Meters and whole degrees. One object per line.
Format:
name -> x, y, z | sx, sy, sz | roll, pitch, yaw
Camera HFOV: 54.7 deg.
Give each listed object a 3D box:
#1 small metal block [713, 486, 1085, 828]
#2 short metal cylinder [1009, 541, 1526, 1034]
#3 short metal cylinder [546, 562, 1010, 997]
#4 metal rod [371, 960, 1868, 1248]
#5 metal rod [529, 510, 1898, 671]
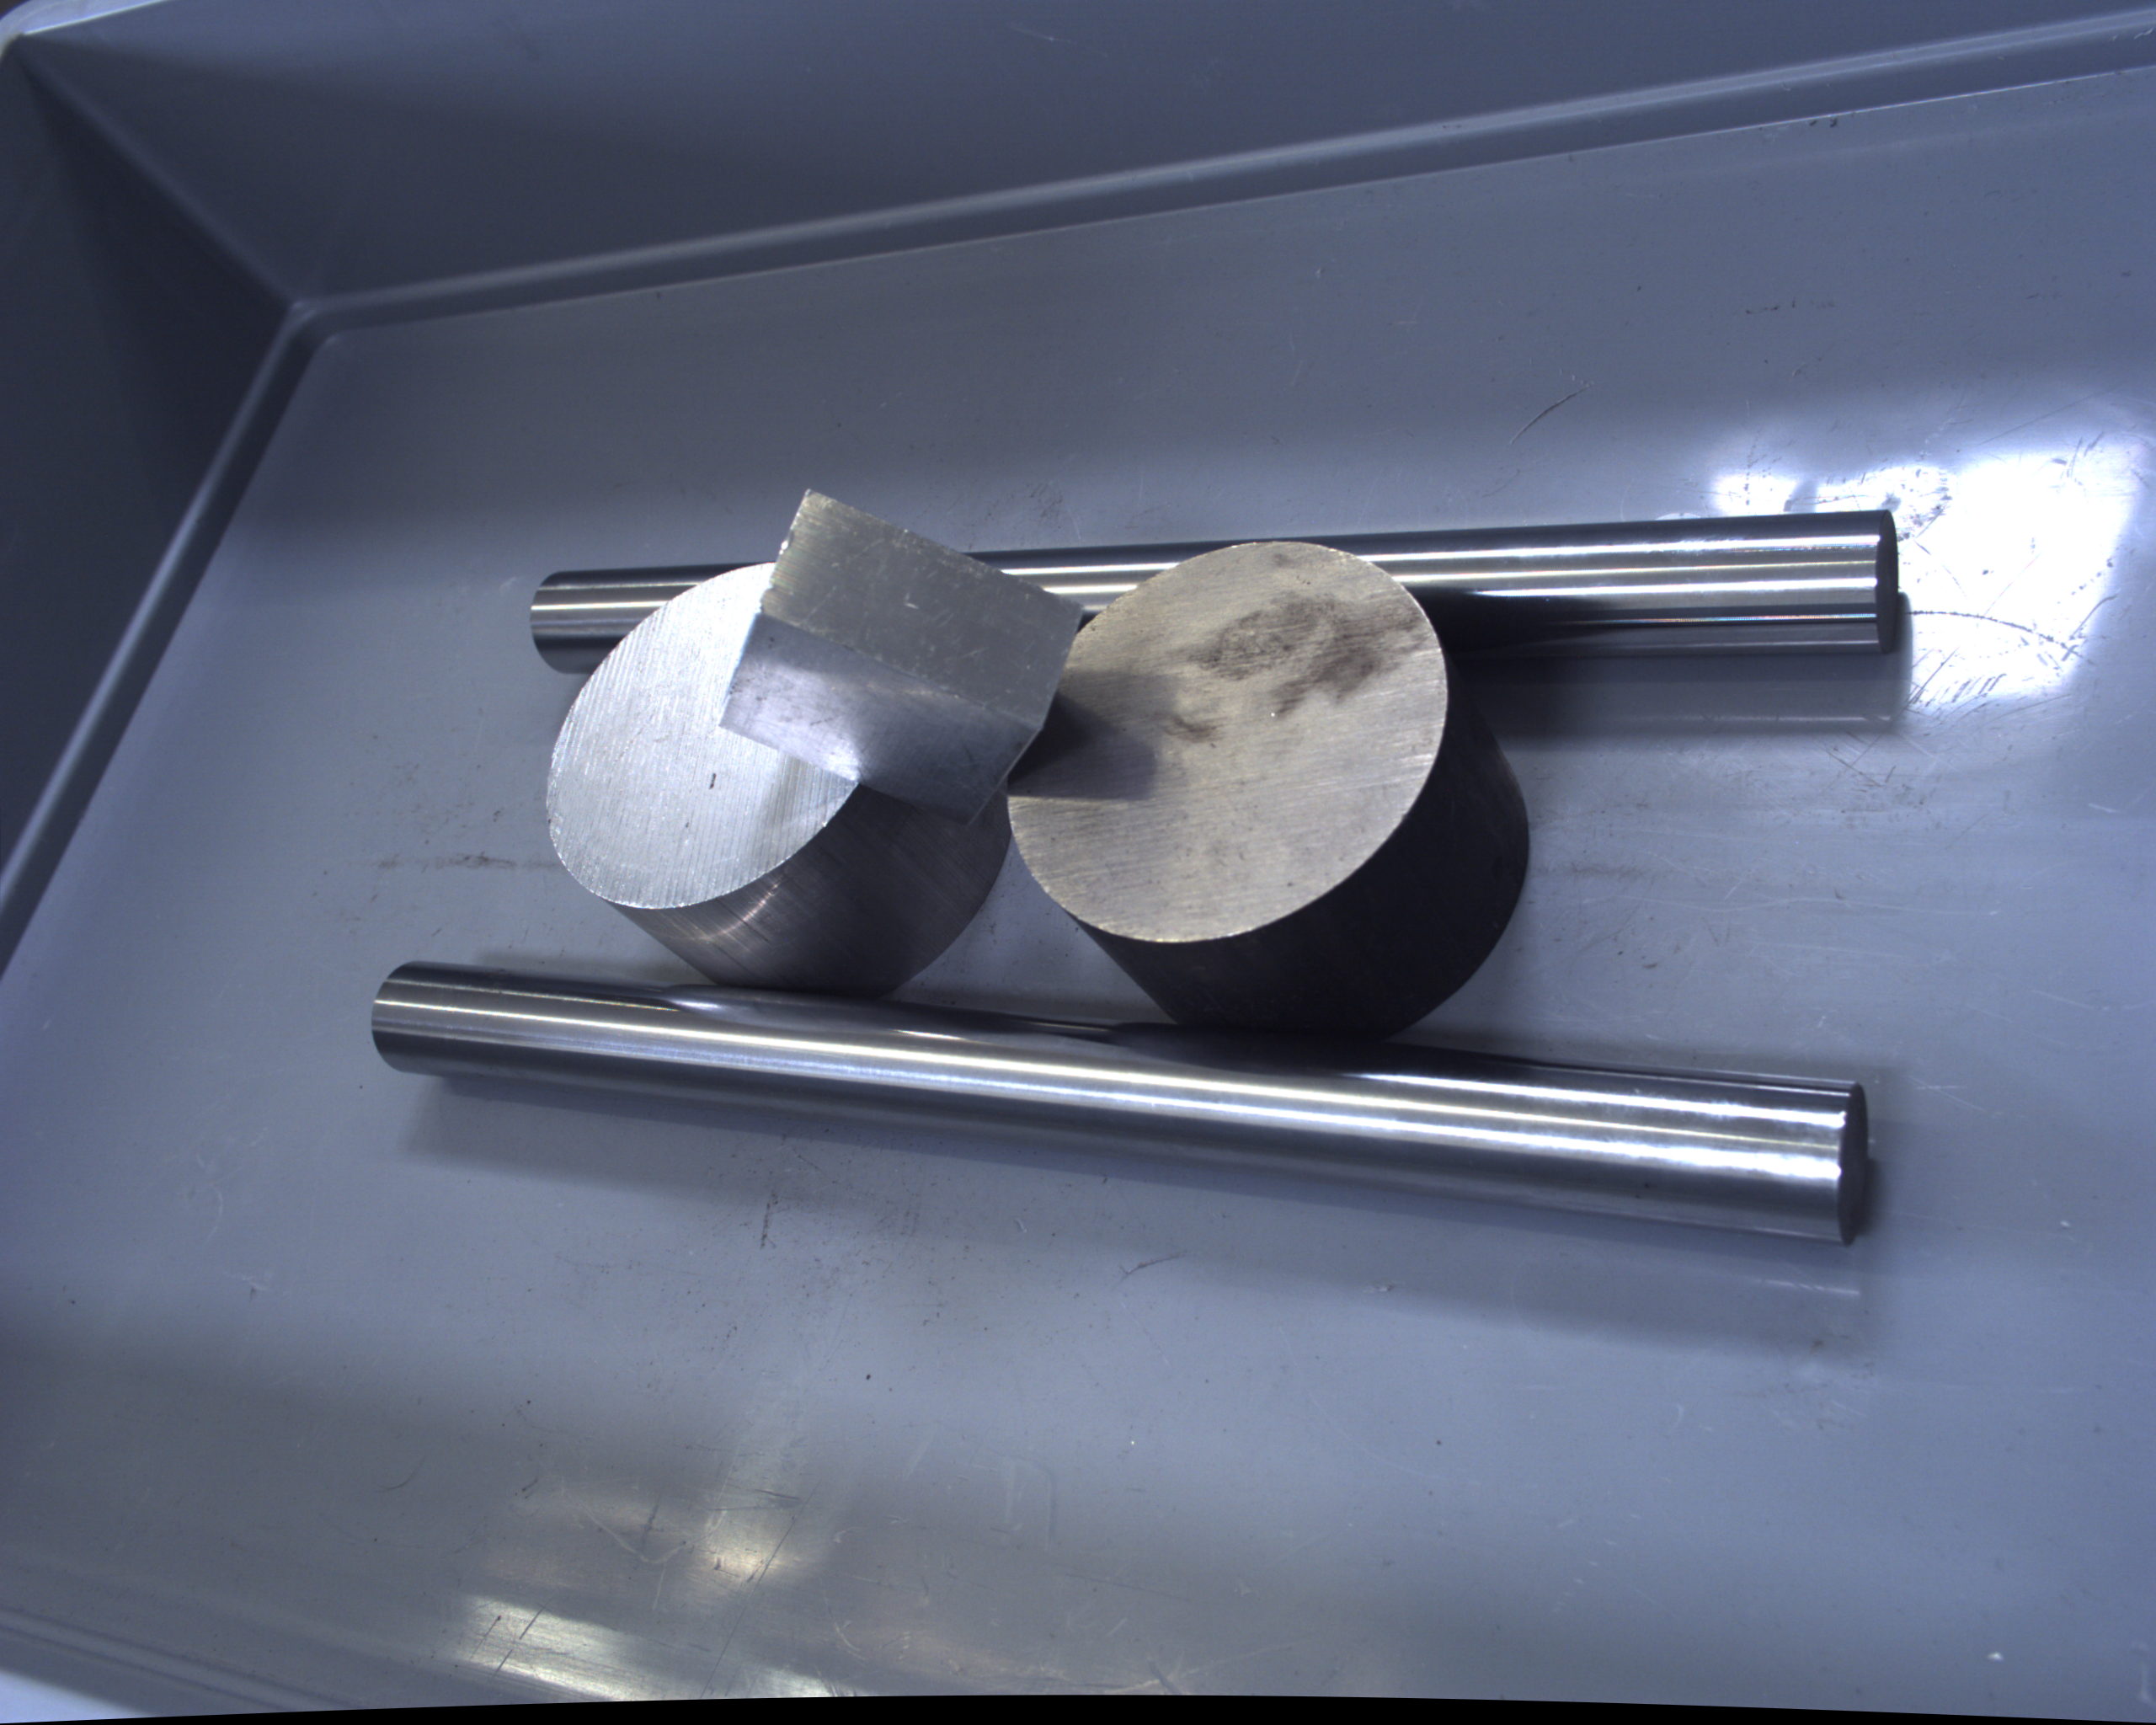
small metal block -> -0.033, -0.034, 0.367 | 0.050, 0.050, 0.025 | 22, 66, -10
short metal cylinder -> 0.035, -0.011, 0.376 | 0.080, 0.050, 0.080 | -13, 56, 21
short metal cylinder -> -0.061, -0.015, 0.429 | 0.080, 0.050, 0.080 | -13, 56, 21
metal rod -> -0.014, 0.040, 0.387 | 0.300, 0.025, 0.025 | 3, 63, 29
metal rod -> 0.008, -0.053, 0.432 | 0.300, 0.025, 0.025 | 2, 63, 29
